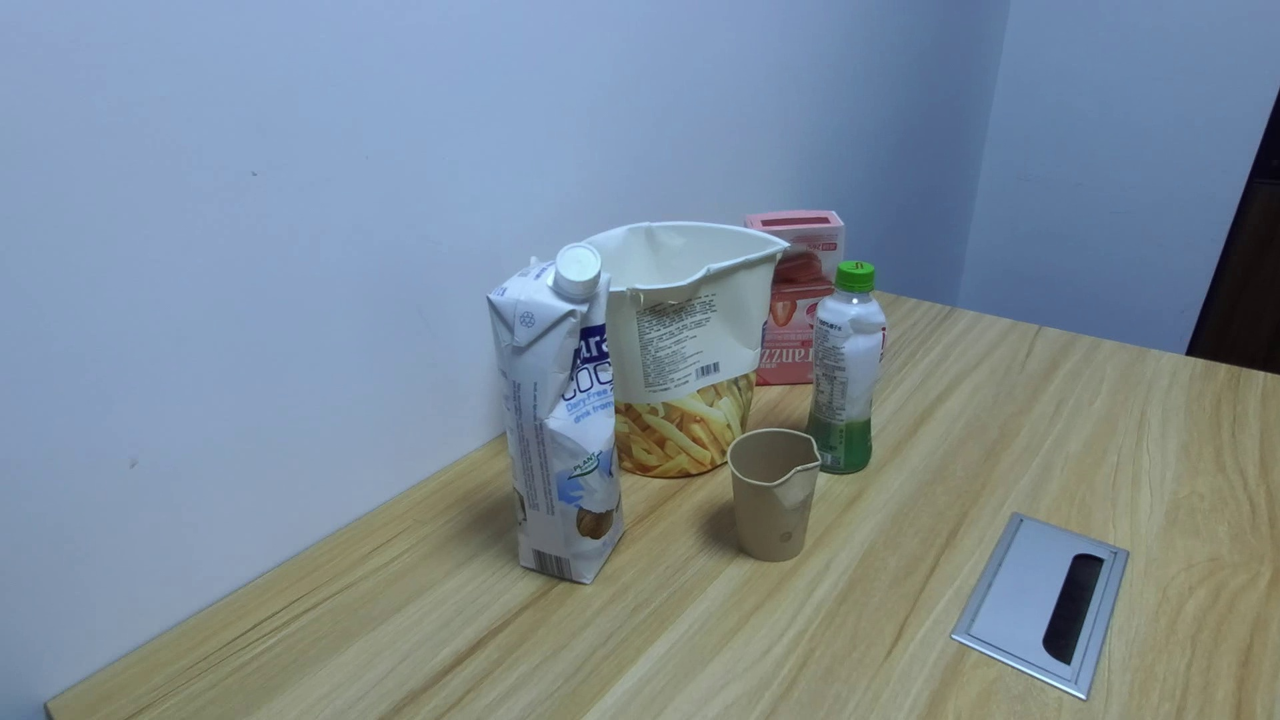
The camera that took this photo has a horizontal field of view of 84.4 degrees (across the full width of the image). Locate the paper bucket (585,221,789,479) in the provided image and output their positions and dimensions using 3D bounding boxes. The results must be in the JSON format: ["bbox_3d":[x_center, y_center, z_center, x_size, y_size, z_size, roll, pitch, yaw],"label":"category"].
[{"bbox_3d":[0.022,-0.012,0.659,0.203,0.197,0.145,-23,33,-35],"label":"paper bucket"}]

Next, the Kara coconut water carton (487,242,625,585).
[{"bbox_3d":[-0.057,0.040,0.510,0.078,0.256,0.083,17,33,32],"label":"Kara coconut water carton"}]

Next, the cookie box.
[{"bbox_3d":[0.159,-0.063,0.762,0.105,0.188,0.049,-1,25,6],"label":"cookie box"}]

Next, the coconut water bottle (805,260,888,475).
[{"bbox_3d":[0.182,0.007,0.619,0.069,0.186,0.069,0,26,0],"label":"coconut water bottle"}]

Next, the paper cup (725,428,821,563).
[{"bbox_3d":[0.102,0.107,0.548,0.069,0.081,0.073,-2,26,4],"label":"paper cup"}]
